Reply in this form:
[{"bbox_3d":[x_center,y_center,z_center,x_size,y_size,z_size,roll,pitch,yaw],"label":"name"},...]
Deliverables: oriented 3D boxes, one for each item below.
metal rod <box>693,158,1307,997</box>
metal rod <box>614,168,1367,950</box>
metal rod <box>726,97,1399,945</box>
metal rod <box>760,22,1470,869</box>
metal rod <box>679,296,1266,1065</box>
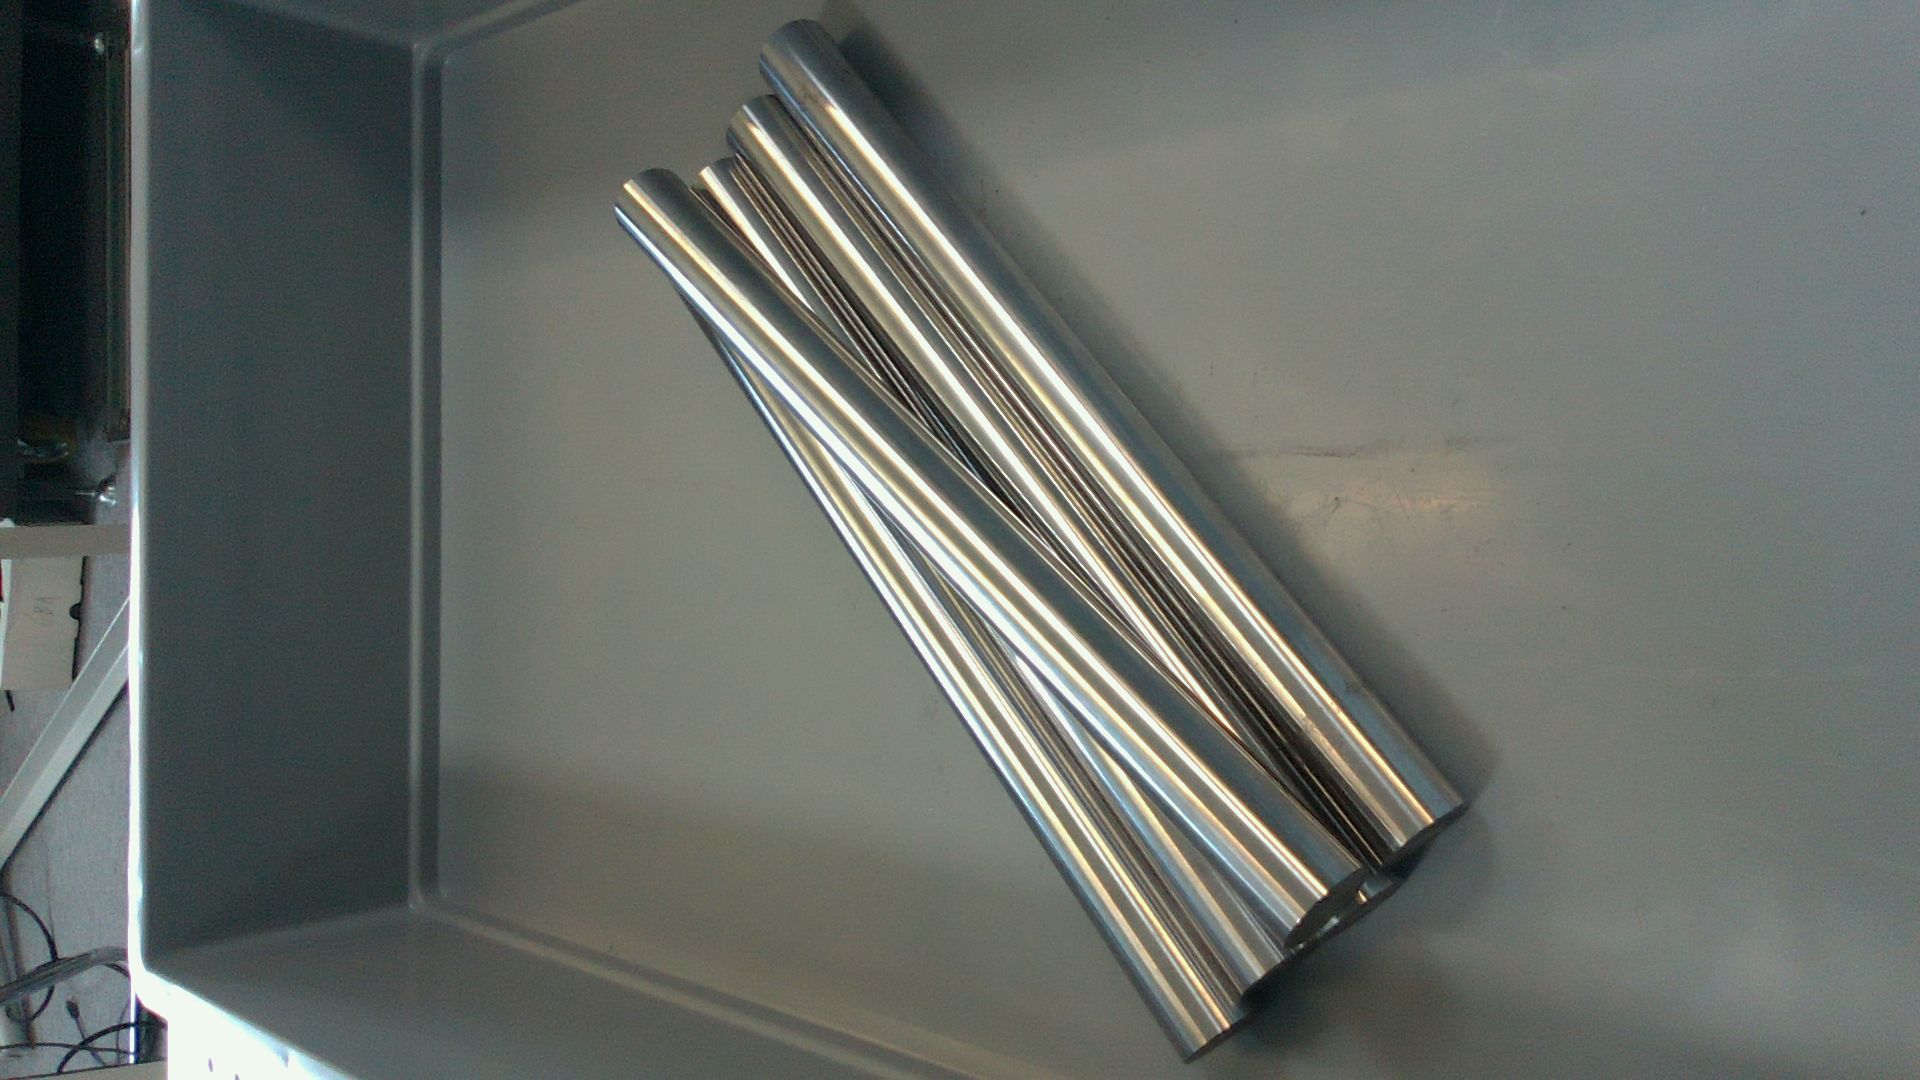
[{"bbox_3d":[-0.001,-0.008,0.394,0.025,0.025,0.299,-50,60,28],"label":"metal rod"},{"bbox_3d":[-0.011,-0.015,0.369,0.299,0.025,0.025,46,118,30],"label":"metal rod"},{"bbox_3d":[0.013,-0.024,0.382,0.025,0.025,0.299,-50,60,28],"label":"metal rod"},{"bbox_3d":[0.026,-0.044,0.372,0.025,0.025,0.299,-50,60,28],"label":"metal rod"},{"bbox_3d":[-0.013,0.012,0.404,0.025,0.025,0.299,-50,60,28],"label":"metal rod"}]
